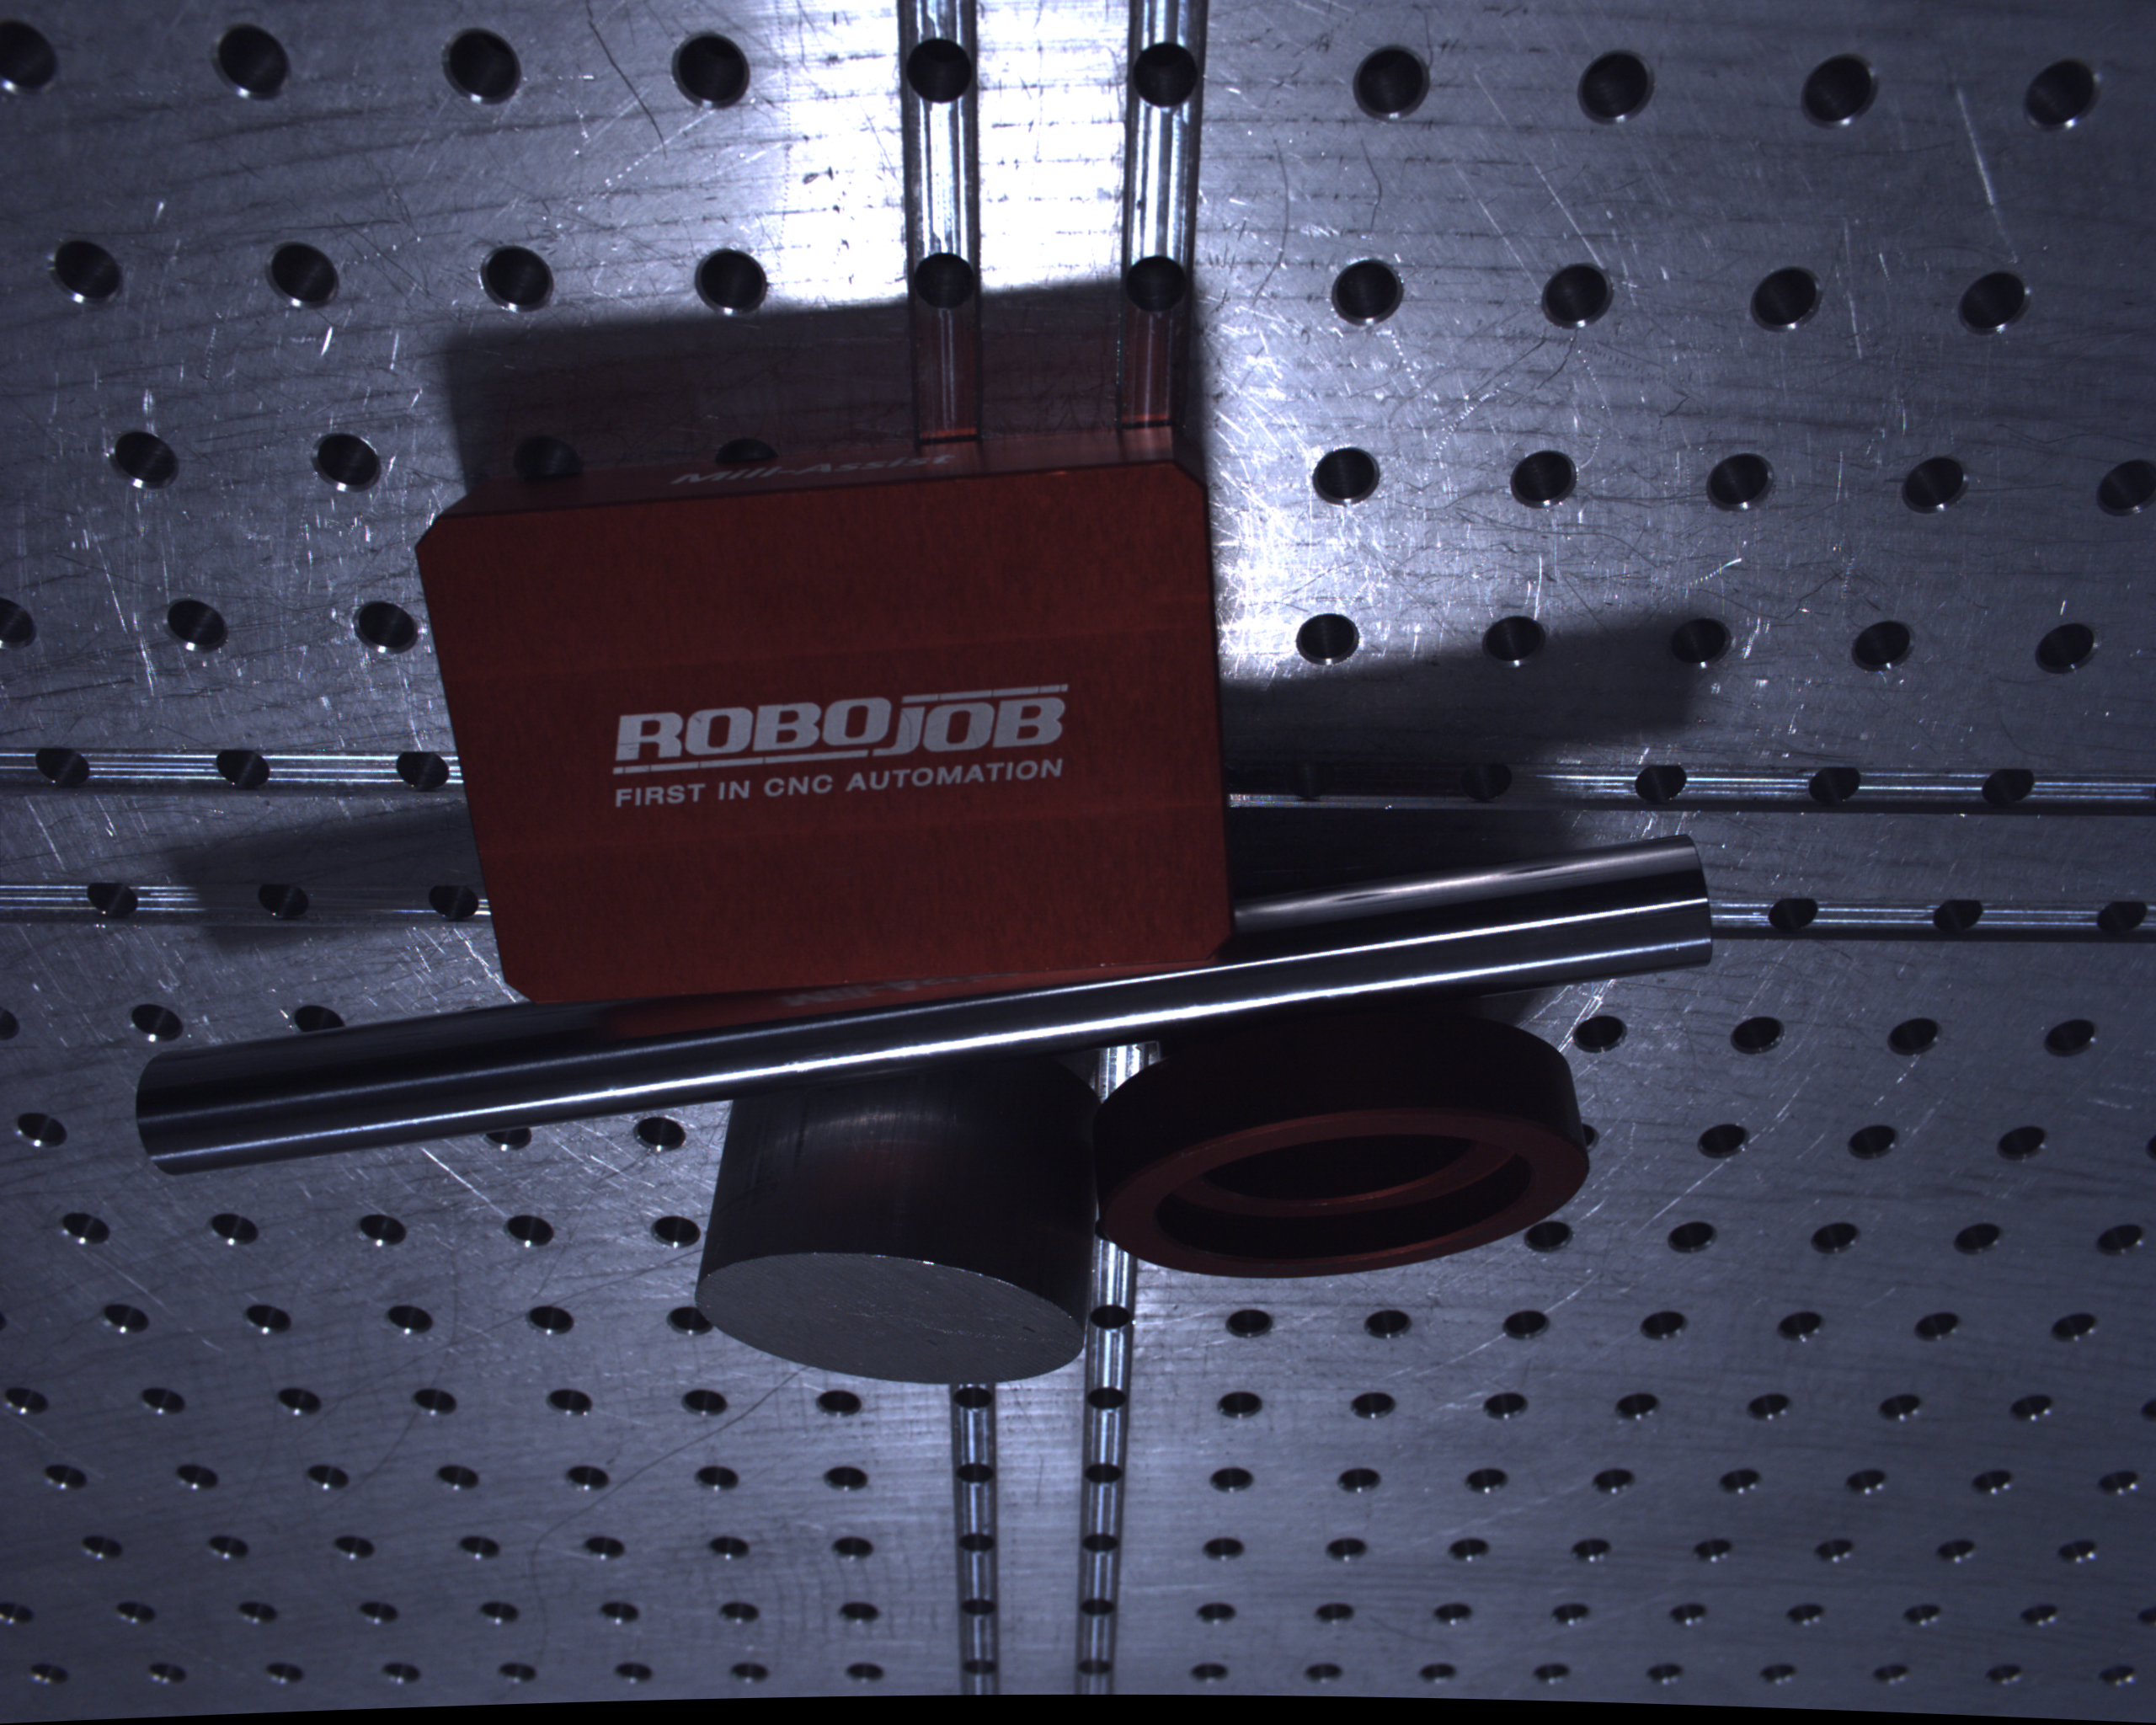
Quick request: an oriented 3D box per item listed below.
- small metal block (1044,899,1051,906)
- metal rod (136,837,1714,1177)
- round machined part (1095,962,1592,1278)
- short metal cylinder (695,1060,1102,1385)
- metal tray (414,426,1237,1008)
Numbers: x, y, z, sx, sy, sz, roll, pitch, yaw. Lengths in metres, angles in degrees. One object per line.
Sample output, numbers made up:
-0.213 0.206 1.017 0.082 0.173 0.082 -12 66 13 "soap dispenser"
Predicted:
-0.036 0.013 0.433 0.050 0.025 0.050 14 129 -12 "small metal block"
-0.033 0.029 0.402 0.302 0.025 0.025 -8 130 6 "metal rod"
0.052 0.051 0.429 0.099 0.042 0.098 -4 152 -2 "round machined part"
-0.036 0.074 0.442 0.080 0.050 0.080 4 149 3 "short metal cylinder"
-0.040 -0.025 0.368 0.131 0.030 0.089 -4 112 2 "metal tray"
